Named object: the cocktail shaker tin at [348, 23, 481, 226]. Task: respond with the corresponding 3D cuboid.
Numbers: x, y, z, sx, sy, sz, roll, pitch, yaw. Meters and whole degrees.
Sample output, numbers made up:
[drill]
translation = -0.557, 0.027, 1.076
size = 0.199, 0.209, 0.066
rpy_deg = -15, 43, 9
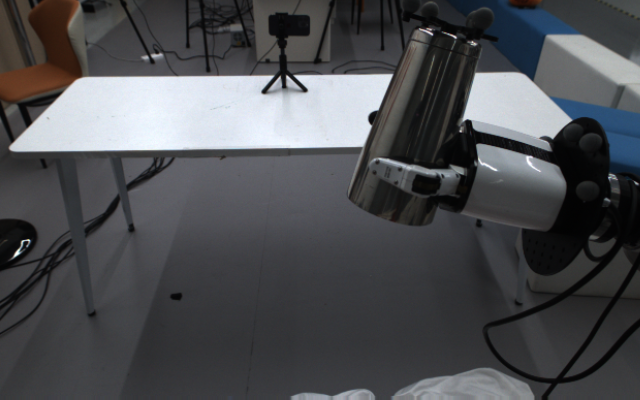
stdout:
[cocktail shaker tin]
translation = 0.095, -0.071, 0.469
size = 0.093, 0.170, 0.093
rpy_deg = 14, 20, -5
